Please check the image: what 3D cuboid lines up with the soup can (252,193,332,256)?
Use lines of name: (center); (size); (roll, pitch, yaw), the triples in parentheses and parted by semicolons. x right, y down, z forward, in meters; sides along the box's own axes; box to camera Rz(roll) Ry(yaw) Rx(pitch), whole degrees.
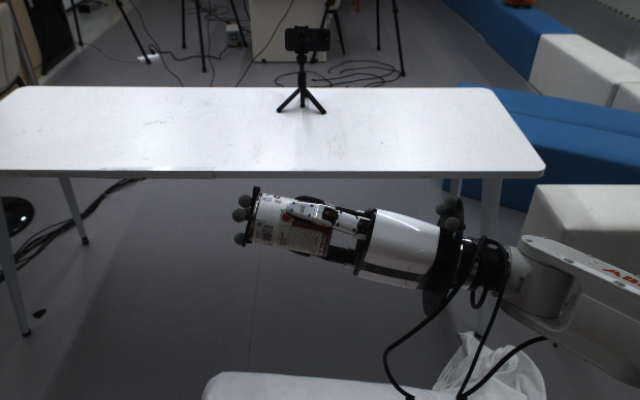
soup can: (-0.033, 0.033, 0.634); (0.101, 0.067, 0.067); (12, 35, -1)
